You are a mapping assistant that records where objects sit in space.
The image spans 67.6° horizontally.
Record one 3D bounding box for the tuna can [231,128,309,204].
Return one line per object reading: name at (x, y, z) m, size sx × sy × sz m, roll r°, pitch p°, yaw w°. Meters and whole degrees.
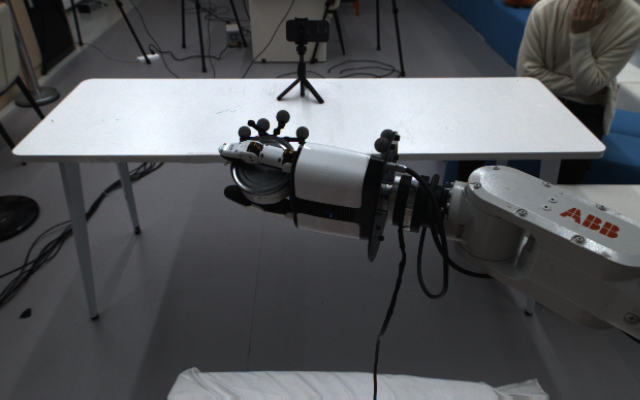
tuna can at (-0.068, -0.038, 0.621) m, size 0.085 × 0.034 × 0.085 m, roll -3°, pitch 61°, yaw 6°
